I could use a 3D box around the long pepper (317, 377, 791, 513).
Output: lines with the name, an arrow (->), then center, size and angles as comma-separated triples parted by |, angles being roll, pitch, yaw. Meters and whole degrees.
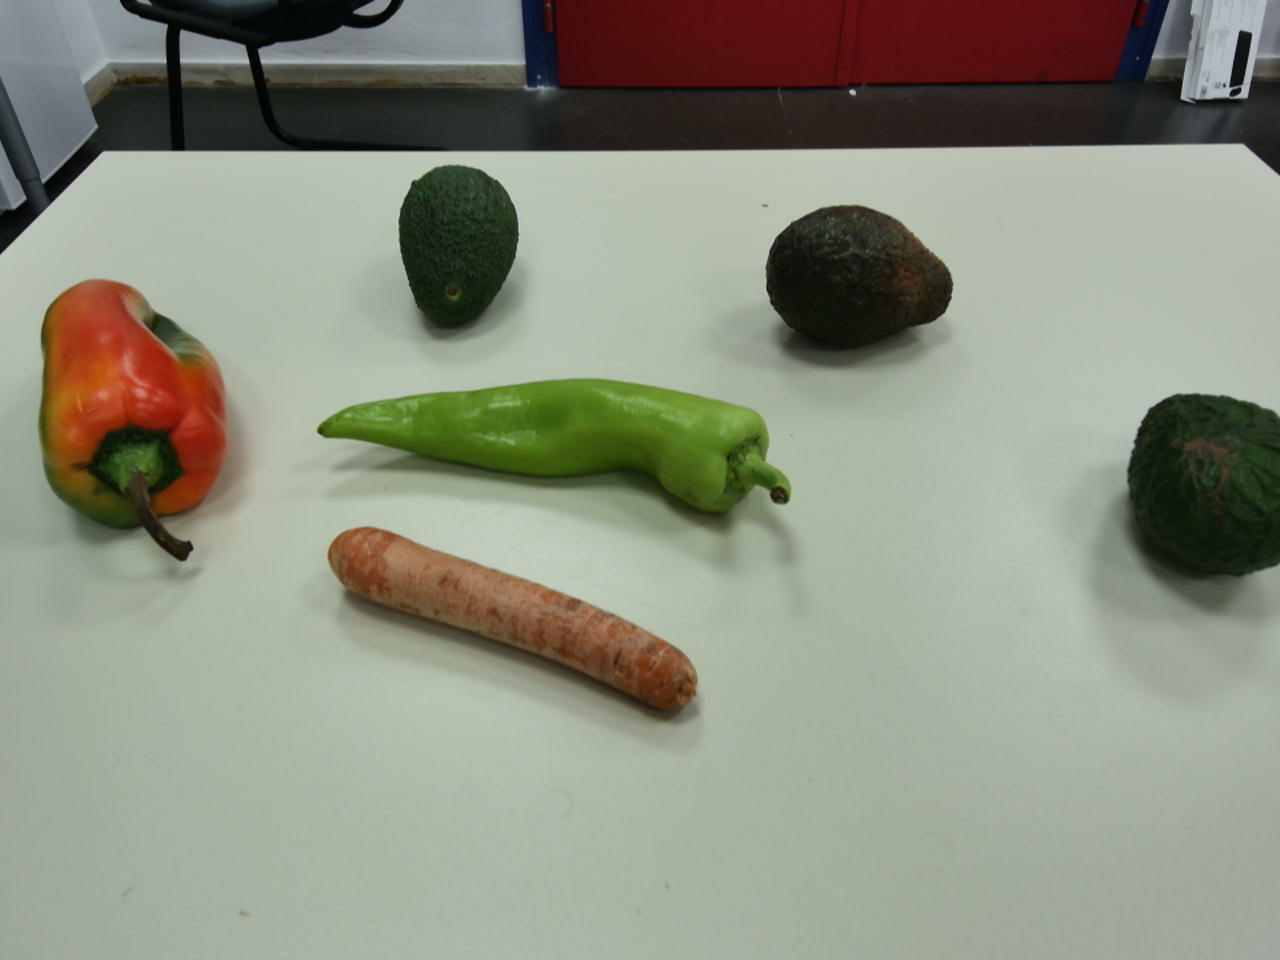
long pepper -> -0.032, -0.021, 0.435 | 0.205, 0.045, 0.065 | 10, 40, 13
